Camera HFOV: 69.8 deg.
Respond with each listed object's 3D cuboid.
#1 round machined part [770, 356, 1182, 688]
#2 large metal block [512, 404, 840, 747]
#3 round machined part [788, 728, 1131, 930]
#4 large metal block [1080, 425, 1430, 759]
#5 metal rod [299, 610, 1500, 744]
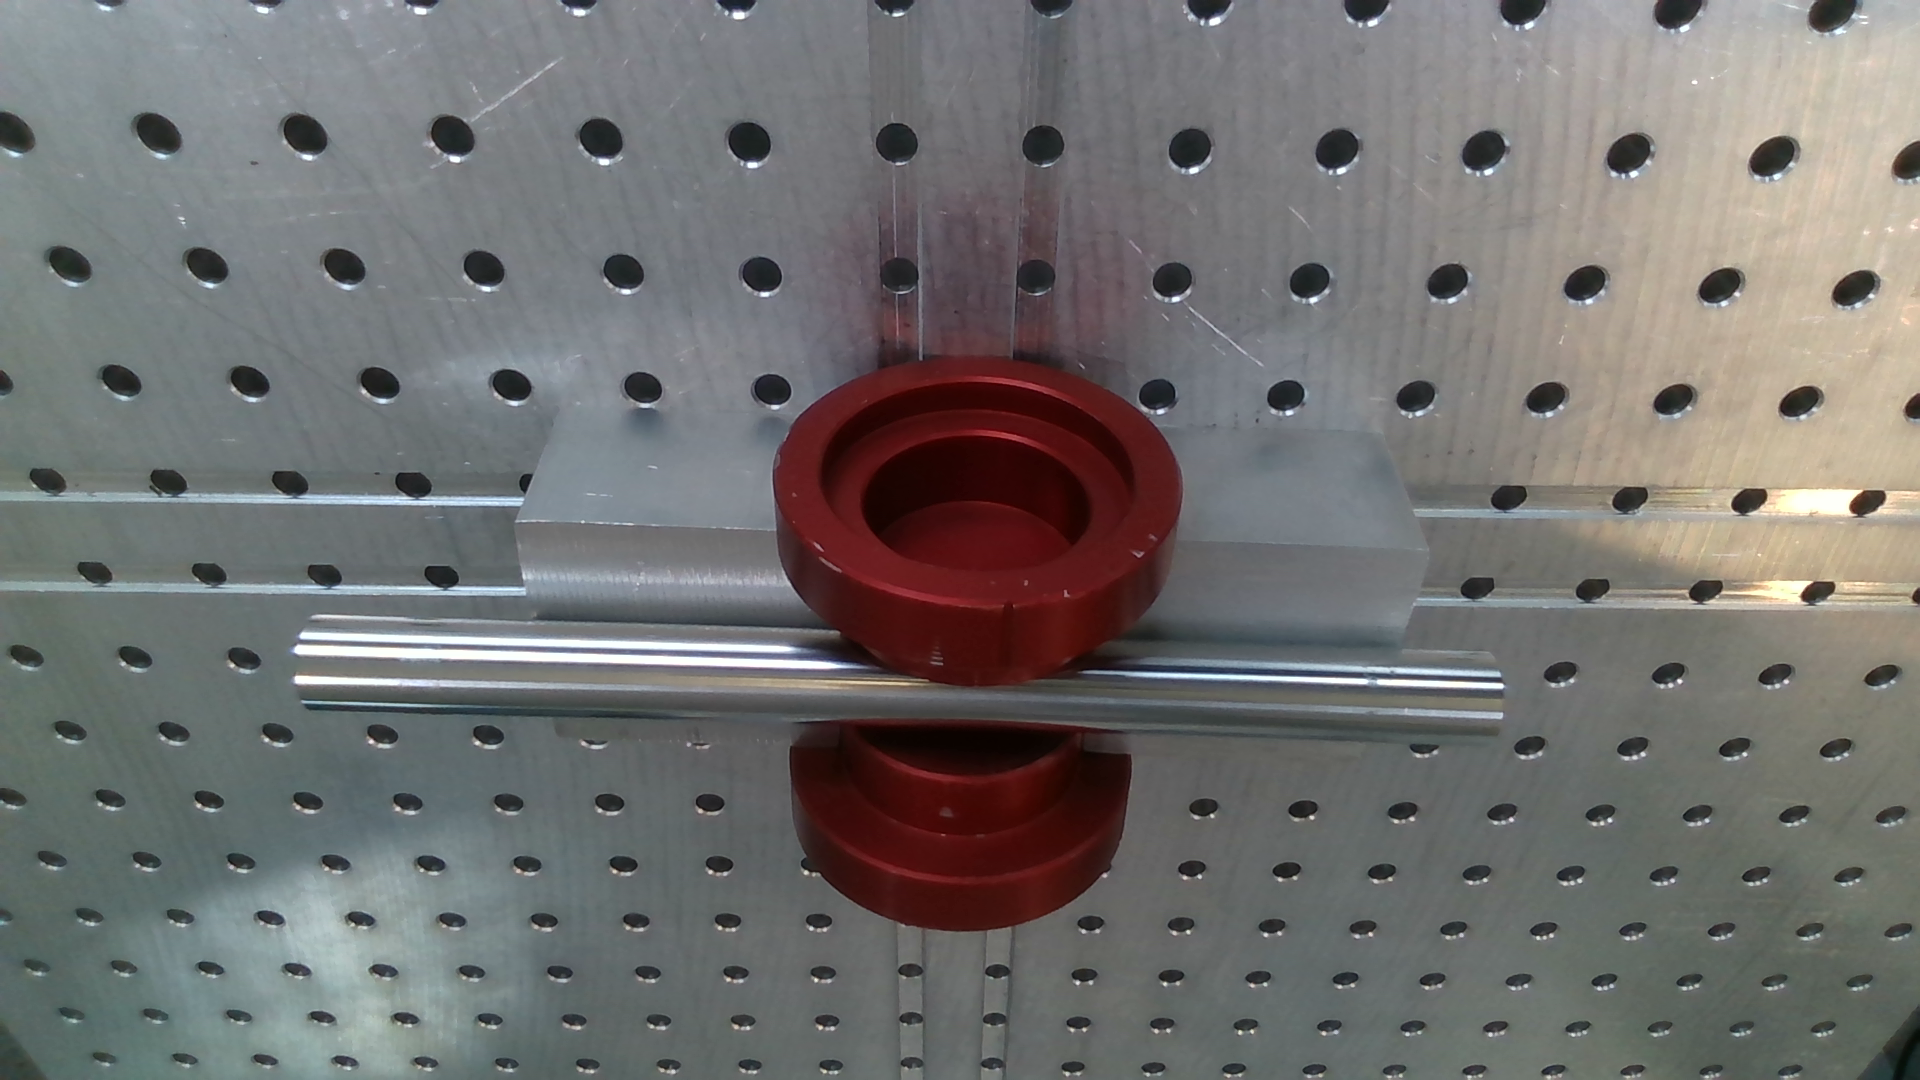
[{"bbox_3d":[0.003,-0.002,0.342,0.098,0.098,0.042,1,130,-1],"label":"round machined part"},{"bbox_3d":[-0.072,0.011,0.384,0.080,0.050,0.080,2,130,-2],"label":"large metal block"},{"bbox_3d":[0.000,0.059,0.394,0.098,0.098,0.042,1,125,-1],"label":"round machined part"},{"bbox_3d":[0.076,0.015,0.388,0.080,0.050,0.080,2,130,-1],"label":"large metal block"},{"bbox_3d":[-0.014,0.036,0.357,0.300,0.025,0.025,2,130,-2],"label":"metal rod"}]
